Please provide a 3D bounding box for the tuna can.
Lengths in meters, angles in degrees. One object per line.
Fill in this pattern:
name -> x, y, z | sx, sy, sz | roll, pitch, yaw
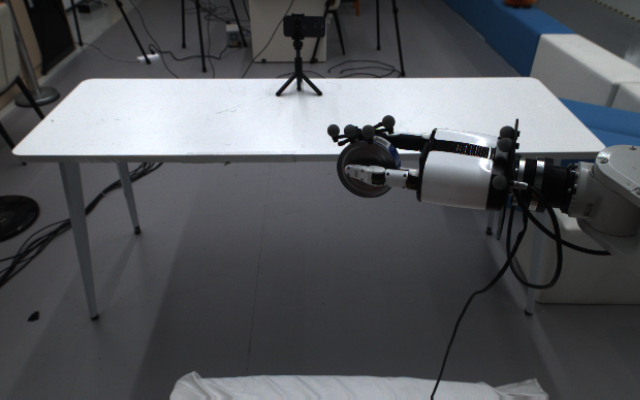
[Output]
tuna can -> 0.071, -0.048, 0.684 | 0.085, 0.085, 0.034 | 13, 28, 15
